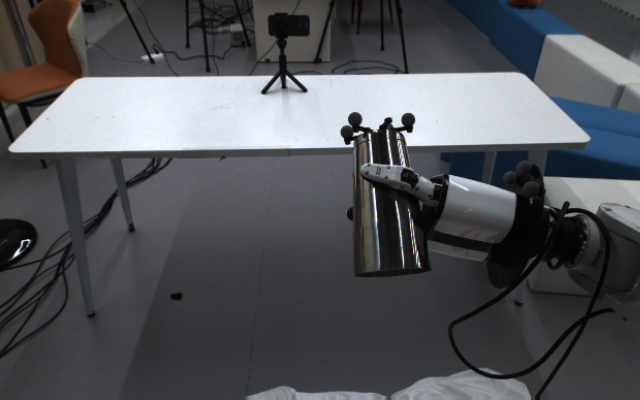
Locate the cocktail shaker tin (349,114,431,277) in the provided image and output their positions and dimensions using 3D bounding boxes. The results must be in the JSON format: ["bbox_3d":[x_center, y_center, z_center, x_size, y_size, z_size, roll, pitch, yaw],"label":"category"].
[{"bbox_3d":[0.082,0.005,0.596,0.093,0.093,0.170,-3,76,-8],"label":"cocktail shaker tin"}]
